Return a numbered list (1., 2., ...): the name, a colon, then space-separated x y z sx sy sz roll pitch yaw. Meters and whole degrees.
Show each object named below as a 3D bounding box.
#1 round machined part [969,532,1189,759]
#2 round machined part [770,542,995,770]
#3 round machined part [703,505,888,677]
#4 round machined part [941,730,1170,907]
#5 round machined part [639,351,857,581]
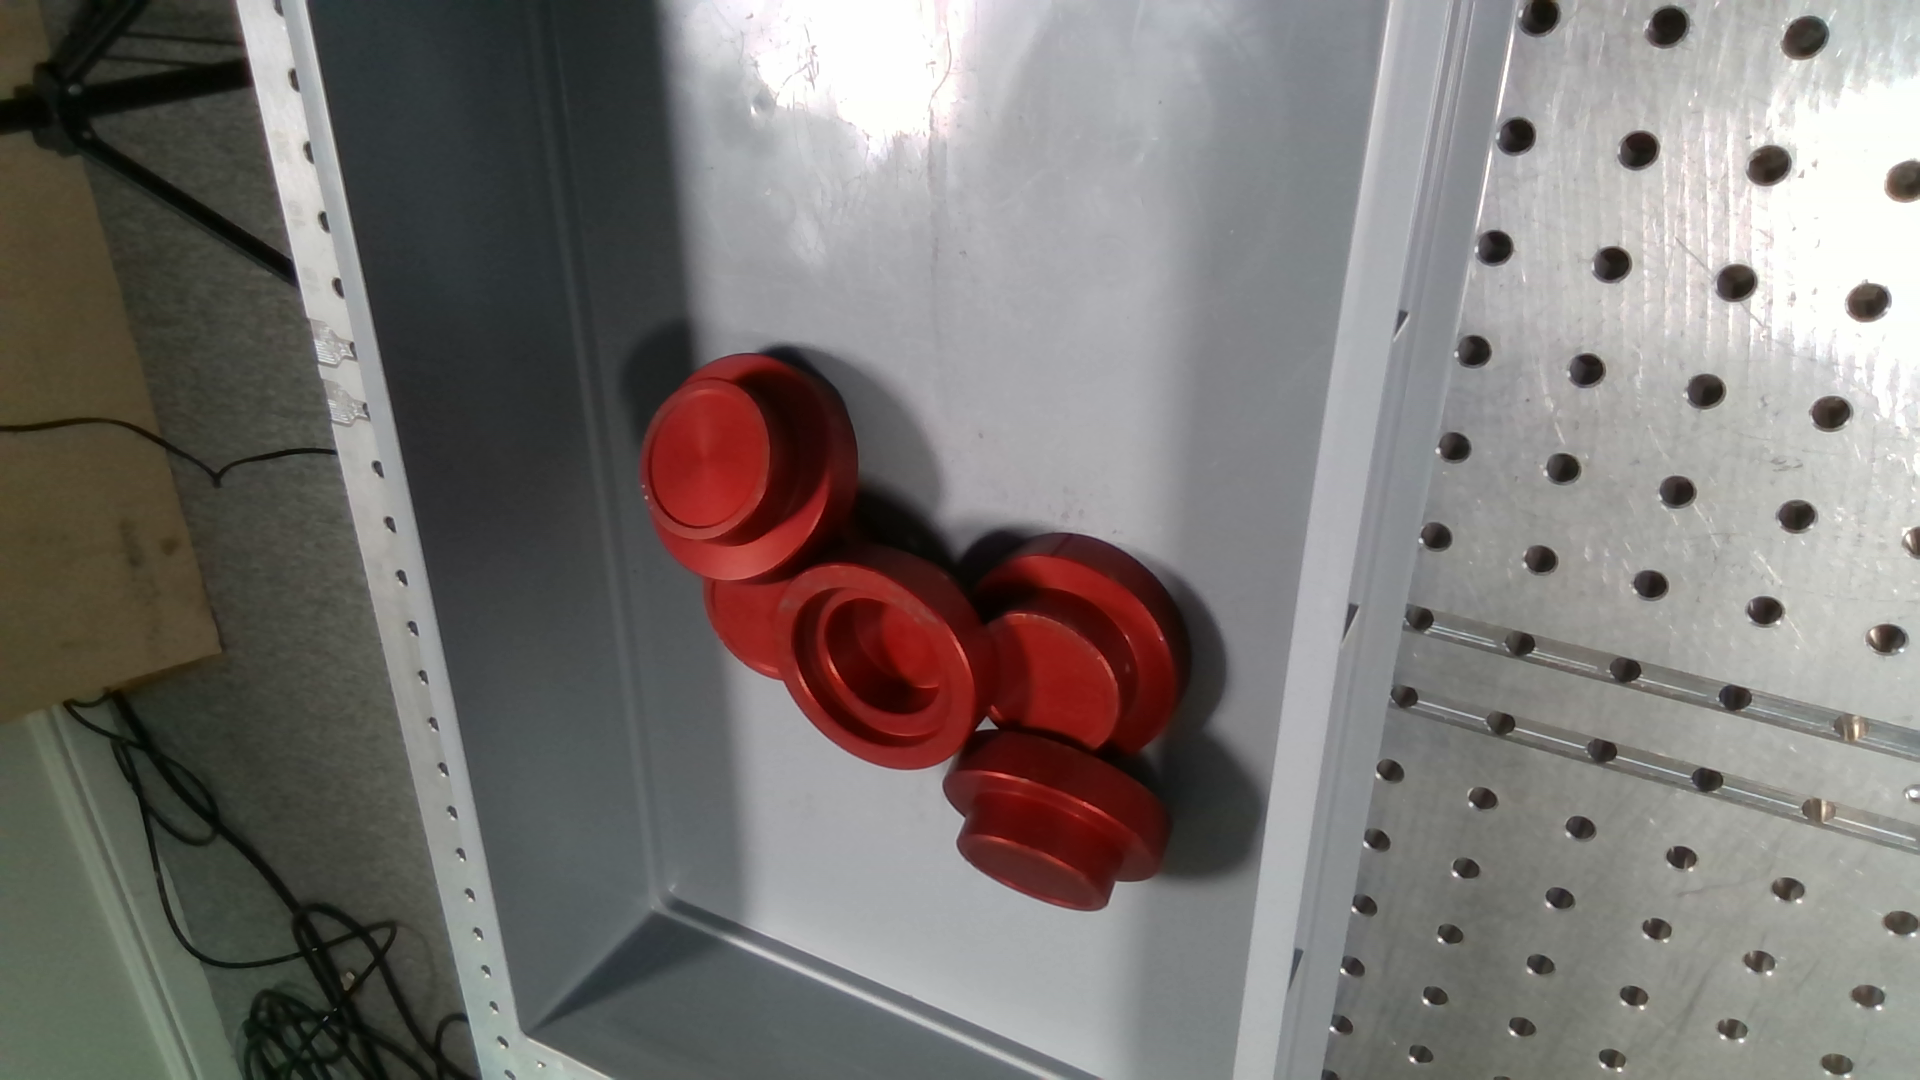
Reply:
1. round machined part: 0.042 0.049 0.568 0.098 0.042 0.098 14 122 25
2. round machined part: -0.028 0.045 0.581 0.098 0.042 0.098 14 122 25
3. round machined part: -0.078 0.024 0.628 0.098 0.042 0.098 14 122 25
4. round machined part: 0.036 0.123 0.585 0.098 0.042 0.098 19 153 10
5. round machined part: -0.096 -0.032 0.582 0.098 0.042 0.098 -3 84 28
